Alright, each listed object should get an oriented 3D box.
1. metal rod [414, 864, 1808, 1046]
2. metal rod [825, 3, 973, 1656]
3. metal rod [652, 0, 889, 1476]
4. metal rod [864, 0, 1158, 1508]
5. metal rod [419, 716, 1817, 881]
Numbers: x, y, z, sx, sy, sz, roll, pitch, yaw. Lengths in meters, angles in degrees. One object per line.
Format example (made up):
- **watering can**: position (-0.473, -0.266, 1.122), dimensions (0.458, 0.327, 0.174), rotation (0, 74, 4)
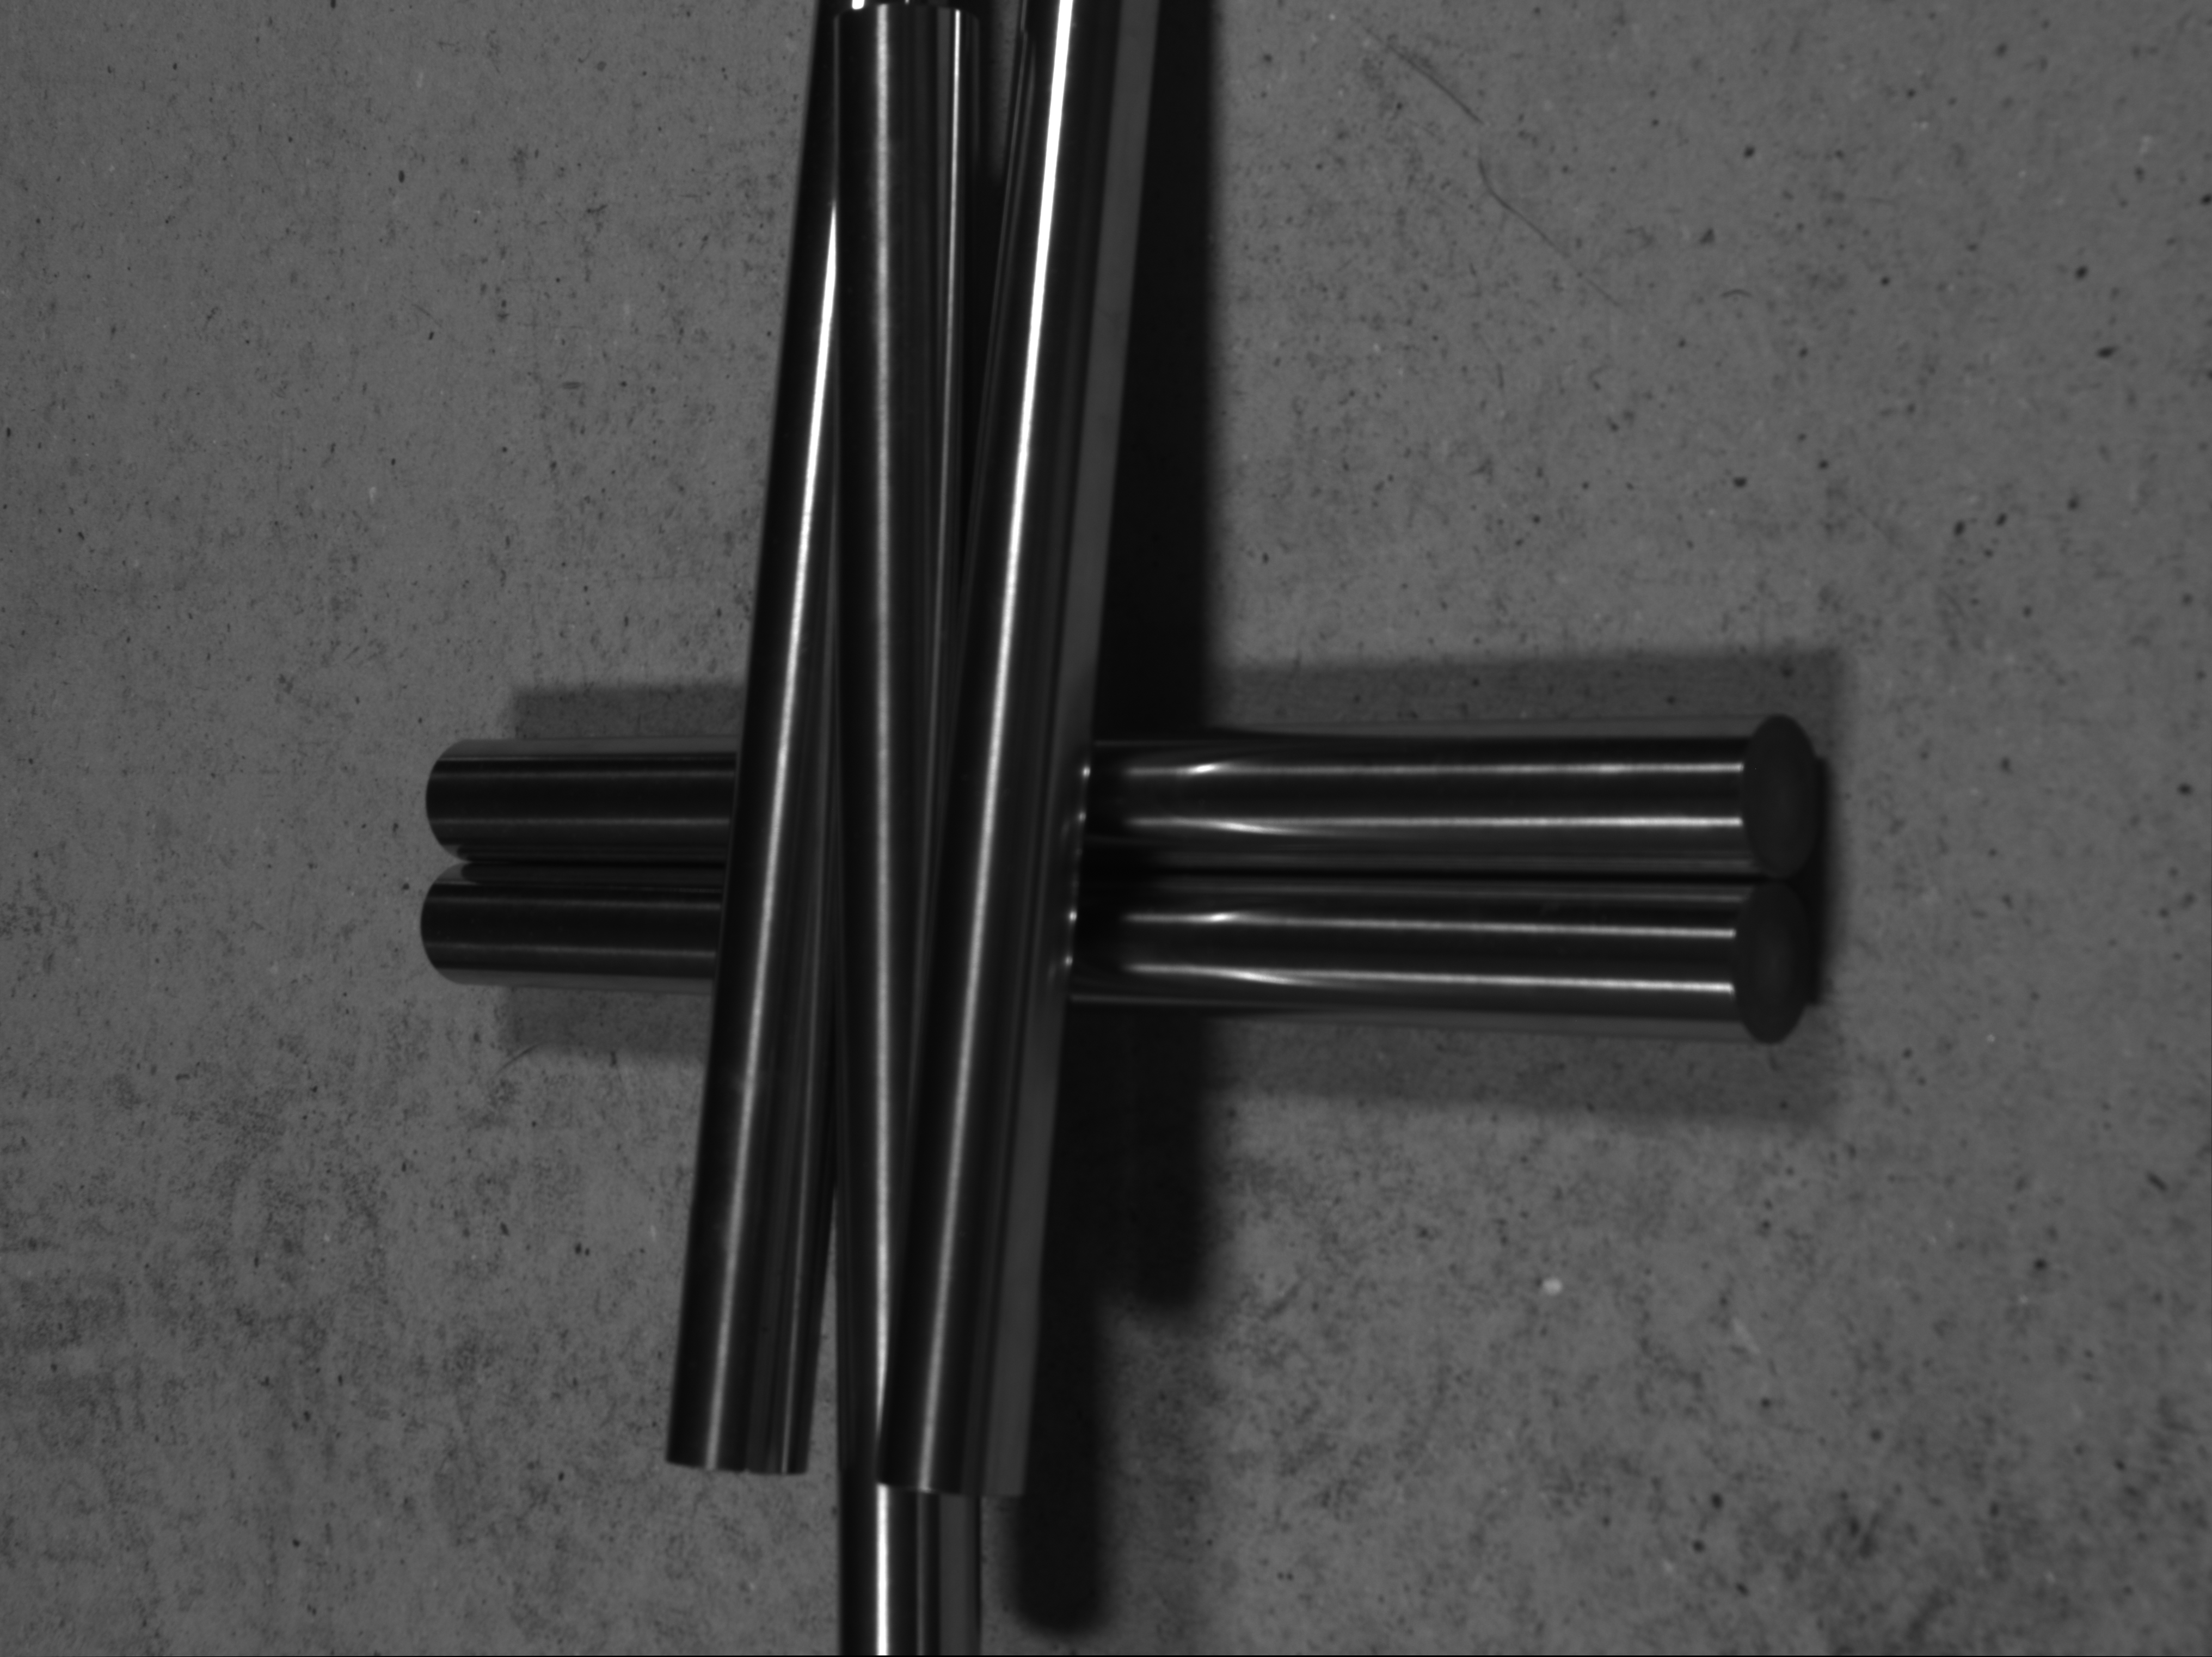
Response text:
- **metal rod**: position (-0.015, 0.020, 0.650), dimensions (0.299, 0.025, 0.025), rotation (0, 90, 39)
- **metal rod**: position (-0.036, 0.010, 0.633), dimensions (0.025, 0.025, 0.300), rotation (0, 89, 39)
- **metal rod**: position (-0.052, -0.037, 0.652), dimensions (0.025, 0.025, 0.300), rotation (0, 82, 39)
- **metal rod**: position (-0.013, -0.038, 0.620), dimensions (0.025, 0.025, 0.300), rotation (0, 82, 39)
- **metal rod**: position (-0.014, -0.005, 0.649), dimensions (0.299, 0.025, 0.025), rotation (0, 90, 39)
